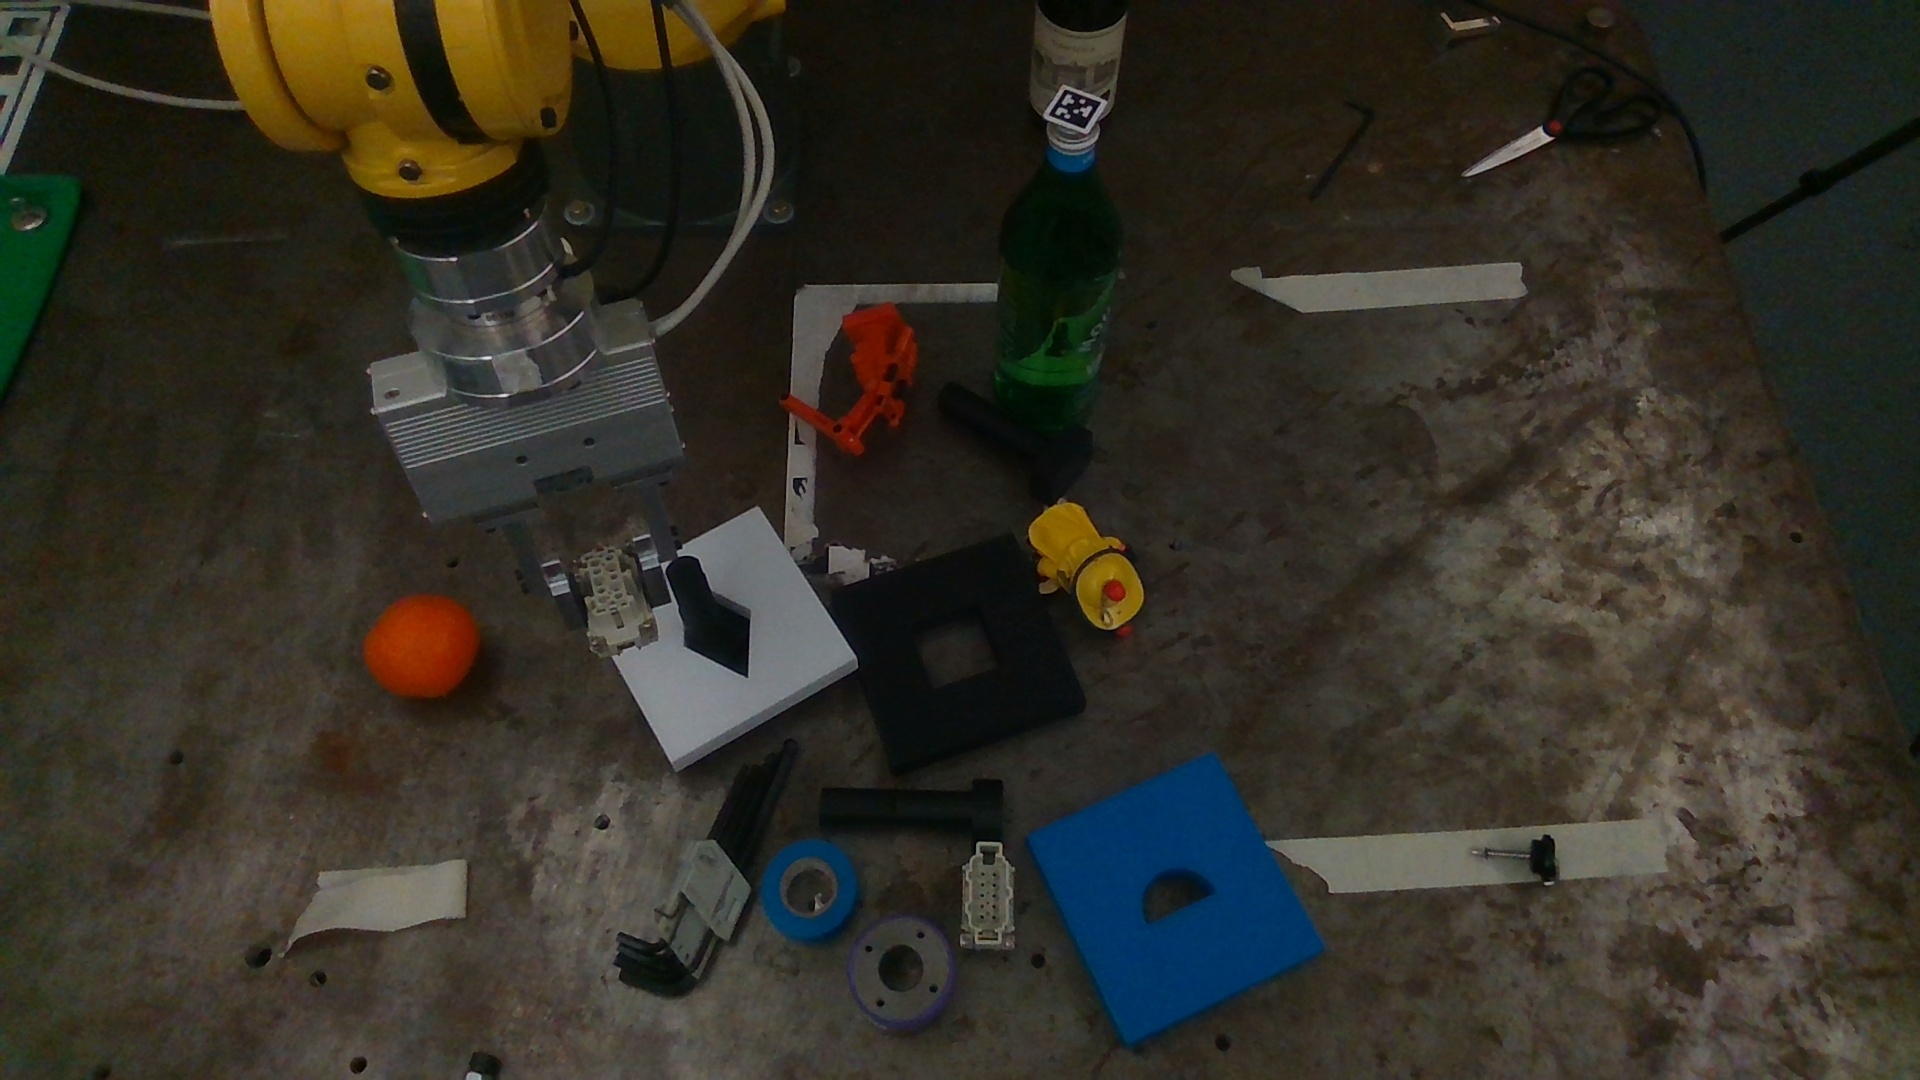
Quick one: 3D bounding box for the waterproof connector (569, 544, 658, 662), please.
[{"bbox_3d":[-0.186,0.031,0.736,0.037,0.038,0.069,-21,47,-5],"label":"waterproof connector"}]
